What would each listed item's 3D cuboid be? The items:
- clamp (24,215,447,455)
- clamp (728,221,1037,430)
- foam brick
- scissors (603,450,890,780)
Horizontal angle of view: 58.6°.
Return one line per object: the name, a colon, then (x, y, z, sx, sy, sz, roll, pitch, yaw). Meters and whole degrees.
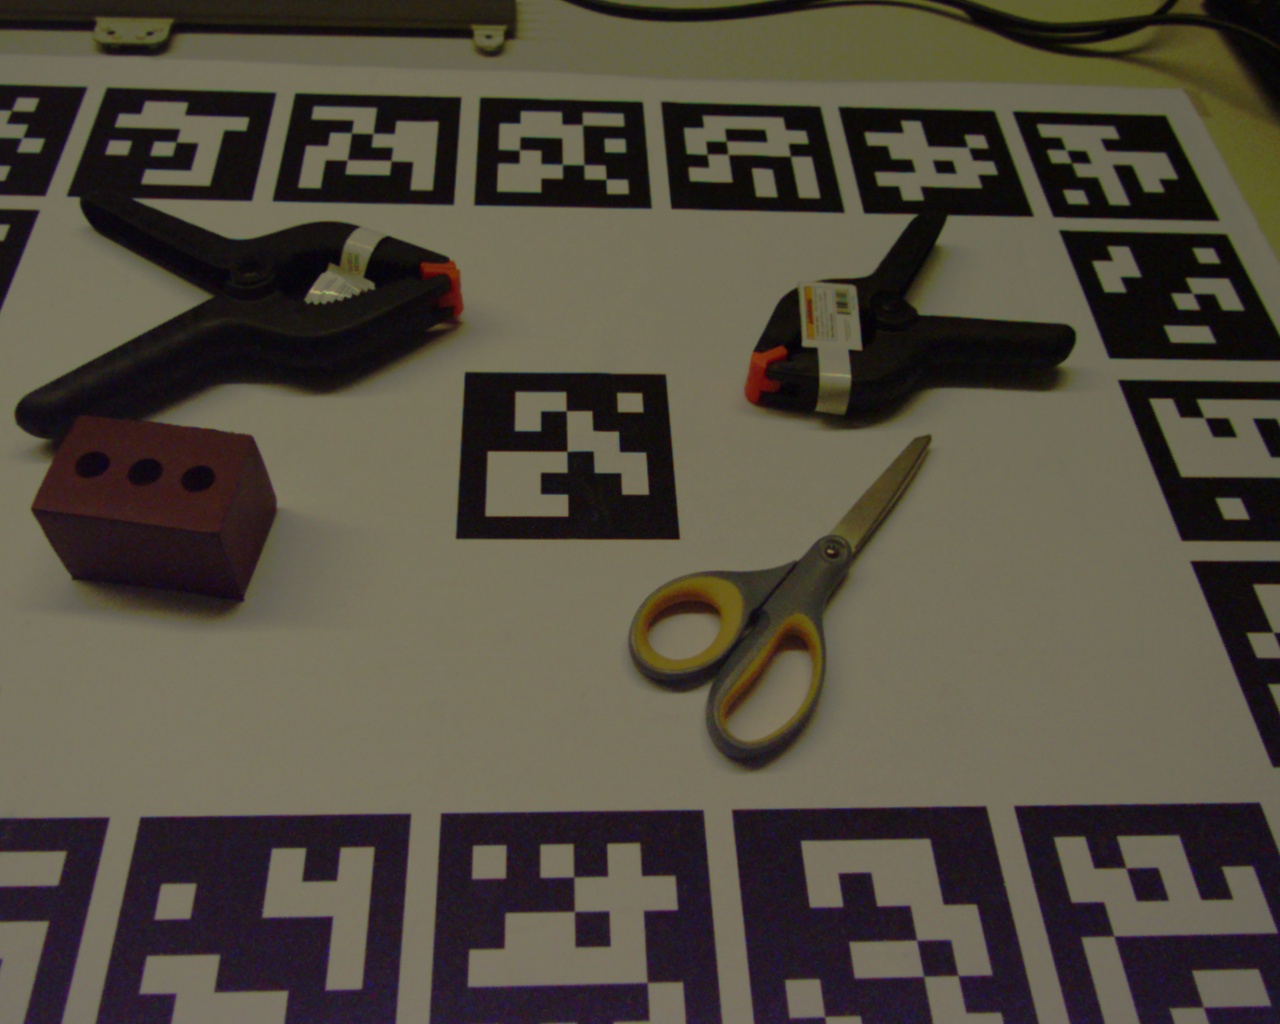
clamp: (-0.205, -0.101, 0.603, 0.202, 0.036, 0.166, -3, 53, -7)
clamp: (0.120, -0.091, 0.623, 0.164, 0.036, 0.123, -25, 68, -18)
foam brick: (-0.215, 0.009, 0.521, 0.078, 0.051, 0.053, 4, 57, 4)
scissors: (0.065, 0.031, 0.539, 0.088, 0.016, 0.201, 37, 59, 11)
